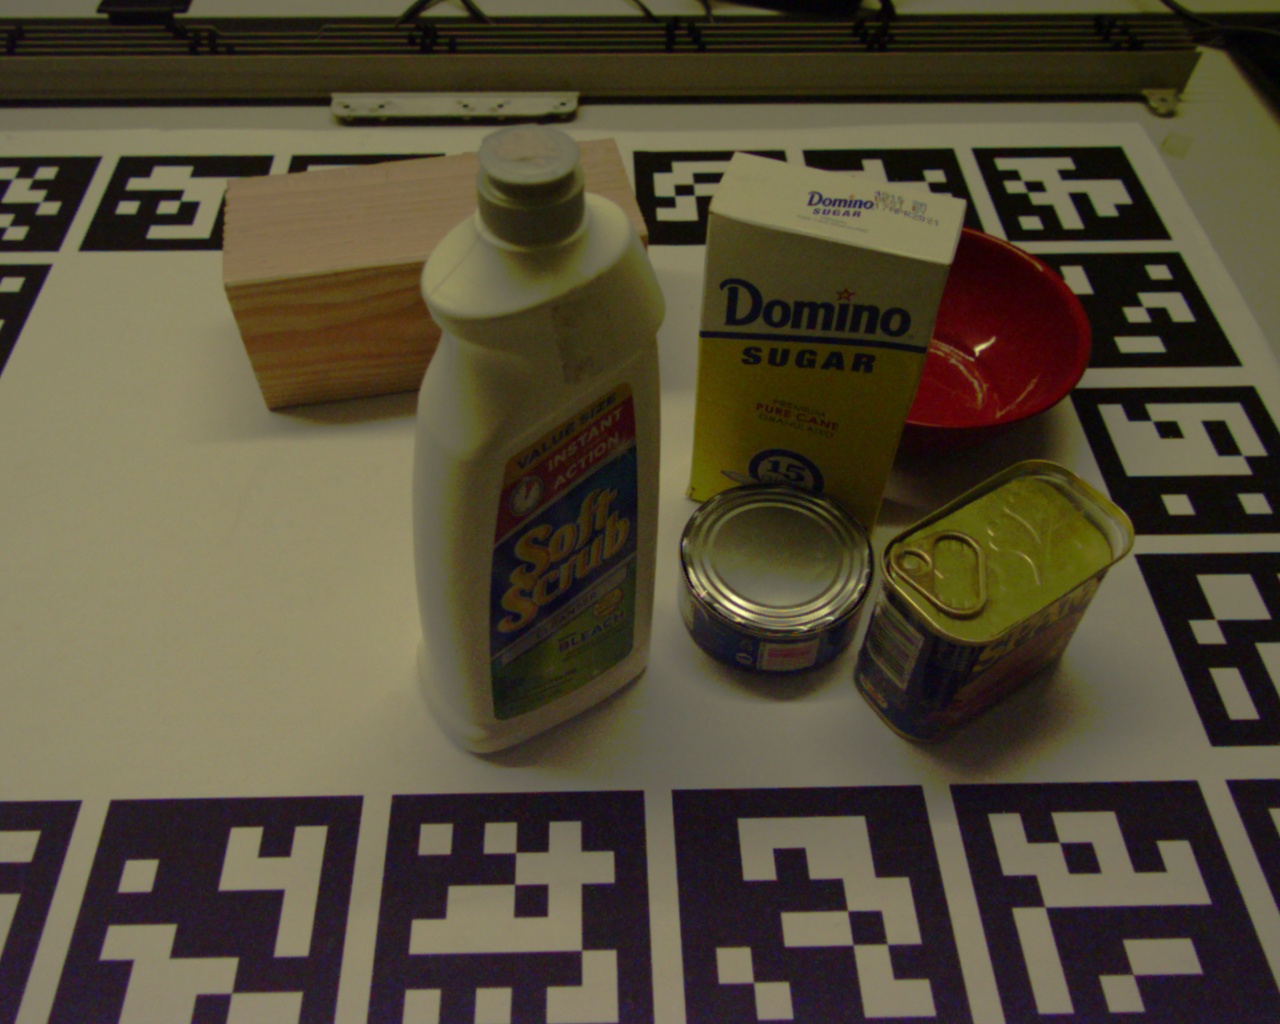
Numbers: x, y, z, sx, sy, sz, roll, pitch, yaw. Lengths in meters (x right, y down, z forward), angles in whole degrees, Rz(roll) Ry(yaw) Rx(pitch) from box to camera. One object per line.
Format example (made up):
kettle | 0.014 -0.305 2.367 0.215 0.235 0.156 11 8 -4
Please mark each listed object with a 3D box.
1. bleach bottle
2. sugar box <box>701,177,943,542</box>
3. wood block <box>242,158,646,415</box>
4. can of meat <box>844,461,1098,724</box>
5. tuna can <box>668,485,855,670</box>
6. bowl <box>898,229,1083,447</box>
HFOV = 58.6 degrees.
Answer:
bleach bottle | -0.041 -0.015 0.439 0.102 0.250 0.068 -22 53 -18
sugar box | 0.077 -0.062 0.522 0.093 0.175 0.045 14 54 14
wood block | -0.108 -0.127 0.638 0.205 0.089 0.091 -8 55 -8
can of meat | 0.142 0.037 0.508 0.101 0.083 0.058 -25 52 -22
tuna can | 0.055 0.031 0.537 0.086 0.033 0.086 -1 54 0
bowl | 0.152 -0.087 0.624 0.162 0.055 0.162 -3 50 2
